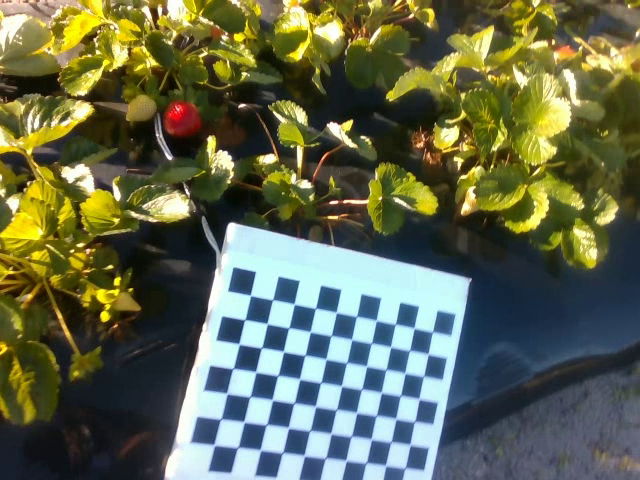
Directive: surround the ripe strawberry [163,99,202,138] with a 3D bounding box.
[{"bbox_3d":[-0.184,-0.166,0.787,0.040,0.062,0.080,-37,20,34],"label":"ripe strawberry"}]
